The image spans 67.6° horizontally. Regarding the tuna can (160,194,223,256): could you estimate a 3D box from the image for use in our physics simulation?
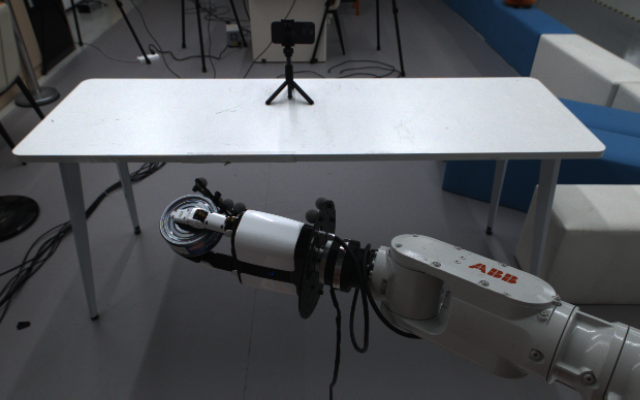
[{"bbox_3d":[-0.180,0.035,0.685,0.085,0.034,0.085,-4,58,6],"label":"tuna can"}]
